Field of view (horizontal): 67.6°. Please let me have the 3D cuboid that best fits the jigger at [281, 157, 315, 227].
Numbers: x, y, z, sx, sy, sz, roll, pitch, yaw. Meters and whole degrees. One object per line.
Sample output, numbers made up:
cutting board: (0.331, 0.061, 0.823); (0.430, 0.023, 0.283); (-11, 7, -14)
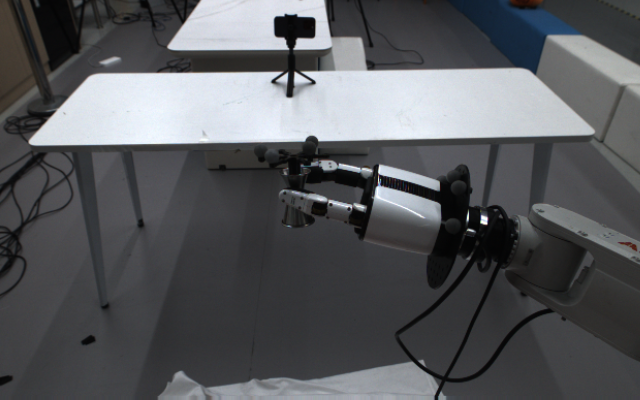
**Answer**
jigger: (-0.030, -0.004, 0.611); (0.043, 0.071, 0.043); (-2, 19, 1)
